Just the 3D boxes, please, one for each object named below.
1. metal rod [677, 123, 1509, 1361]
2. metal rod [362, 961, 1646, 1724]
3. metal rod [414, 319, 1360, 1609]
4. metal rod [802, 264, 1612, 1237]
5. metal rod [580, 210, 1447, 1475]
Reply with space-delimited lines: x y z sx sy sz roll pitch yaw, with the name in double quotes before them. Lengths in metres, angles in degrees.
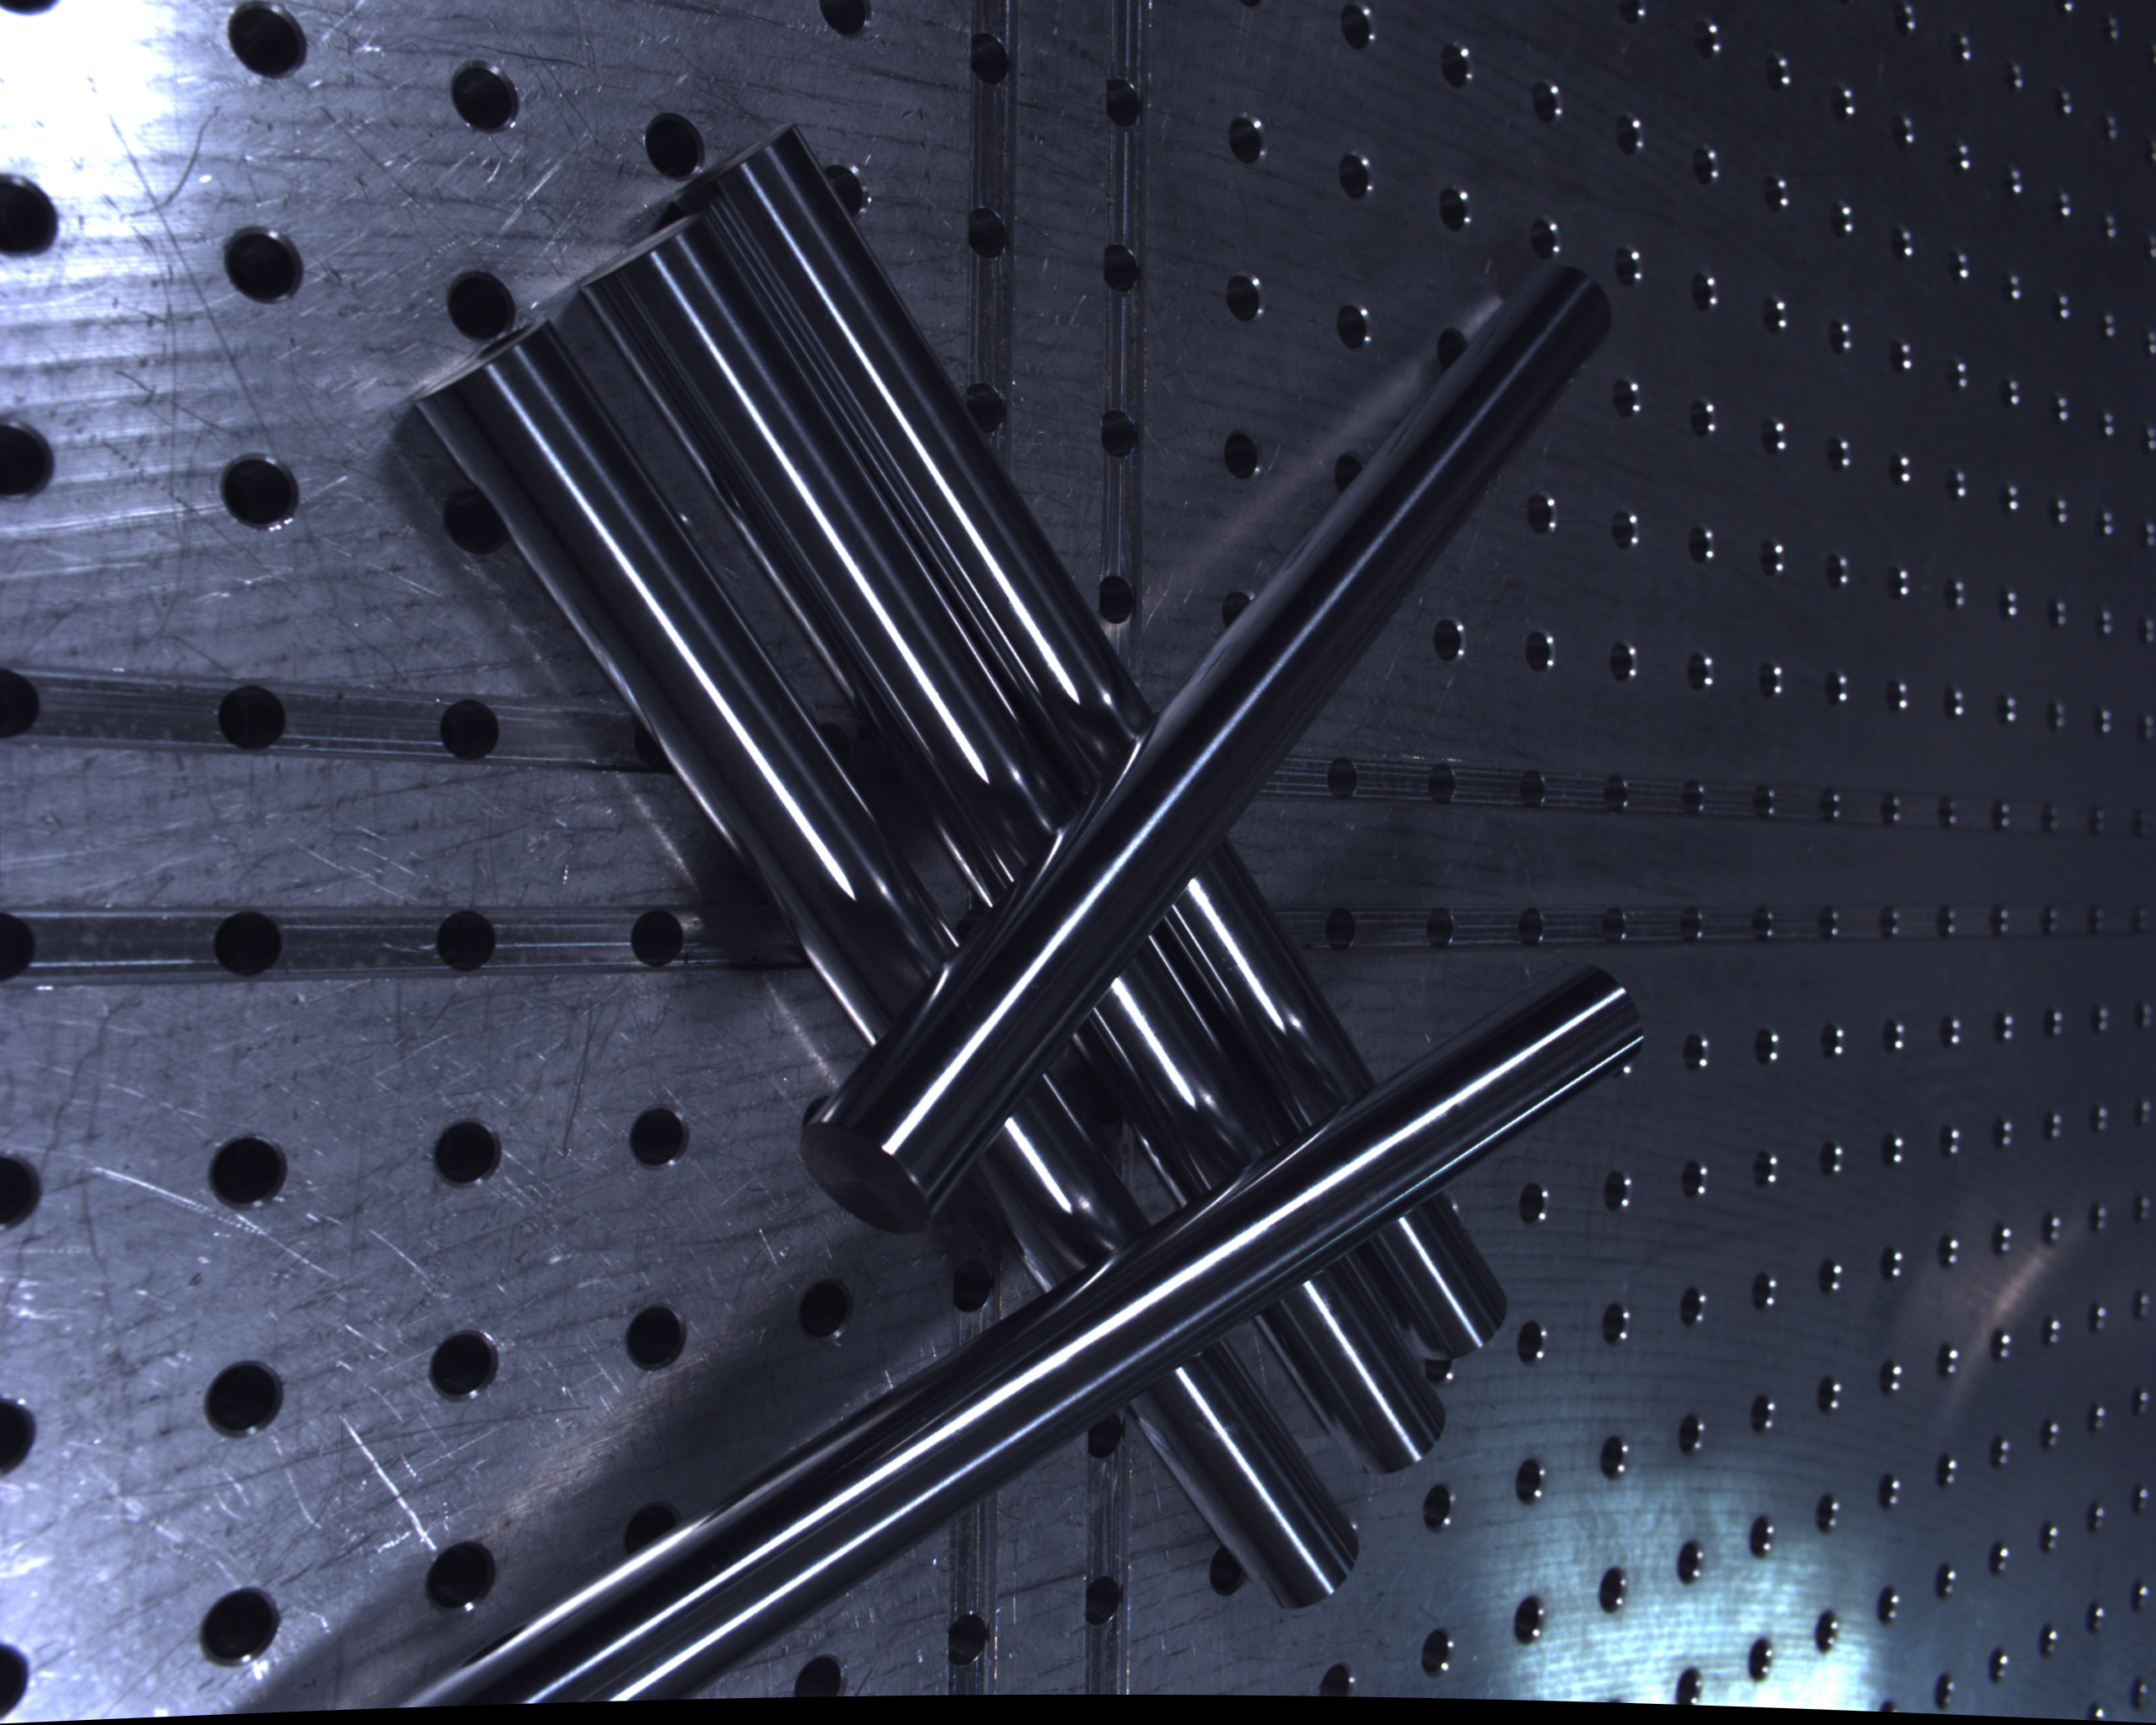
"metal rod" 0.015 -0.007 0.423 0.025 0.025 0.299 -48 119 -29
"metal rod" -0.006 0.093 0.379 0.302 0.025 0.025 -27 108 -28
"metal rod" -0.022 0.036 0.392 0.025 0.025 0.299 -47 118 -30
"metal rod" 0.043 -0.042 0.421 0.301 0.025 0.025 -51 121 -37
"metal rod" 0.000 0.013 0.411 0.025 0.025 0.299 -47 118 -30
